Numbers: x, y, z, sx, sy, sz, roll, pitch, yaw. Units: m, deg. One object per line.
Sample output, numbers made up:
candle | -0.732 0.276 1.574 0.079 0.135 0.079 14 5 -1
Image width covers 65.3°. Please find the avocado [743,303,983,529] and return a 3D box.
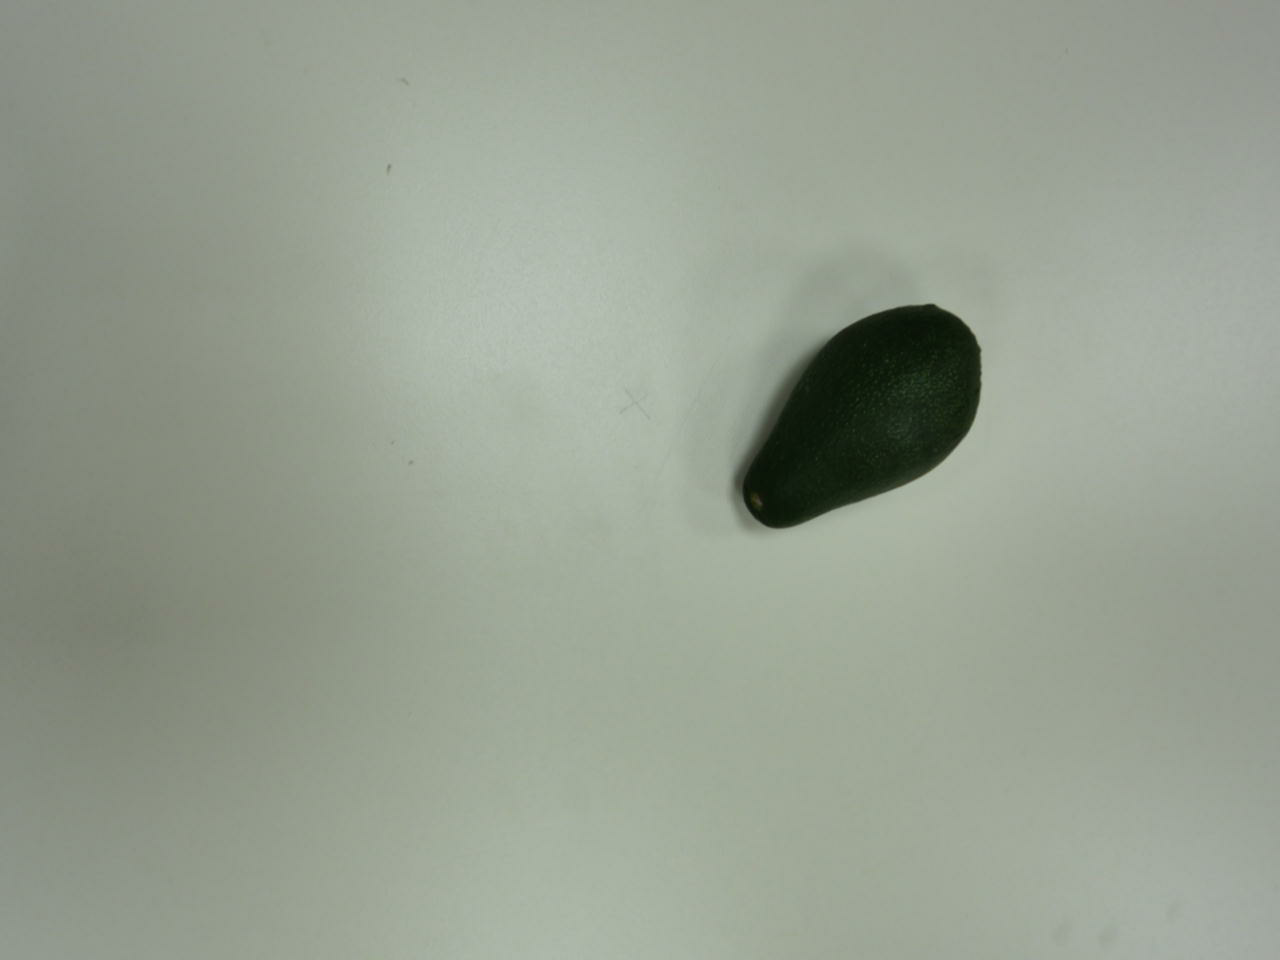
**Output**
avocado | 0.092 -0.028 0.422 0.109 0.071 0.072 -23 95 -10
